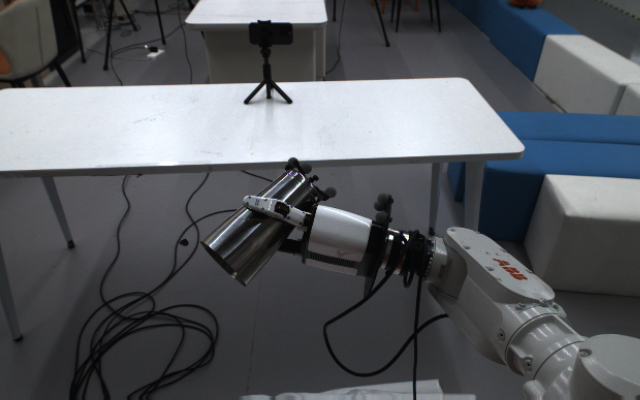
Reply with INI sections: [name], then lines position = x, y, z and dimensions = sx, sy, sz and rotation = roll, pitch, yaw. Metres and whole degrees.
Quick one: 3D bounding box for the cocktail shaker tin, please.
[cocktail shaker tin]
position = -0.082, 0.029, 0.714
dimensions = 0.093, 0.093, 0.170
rotation = 32, 66, 35
